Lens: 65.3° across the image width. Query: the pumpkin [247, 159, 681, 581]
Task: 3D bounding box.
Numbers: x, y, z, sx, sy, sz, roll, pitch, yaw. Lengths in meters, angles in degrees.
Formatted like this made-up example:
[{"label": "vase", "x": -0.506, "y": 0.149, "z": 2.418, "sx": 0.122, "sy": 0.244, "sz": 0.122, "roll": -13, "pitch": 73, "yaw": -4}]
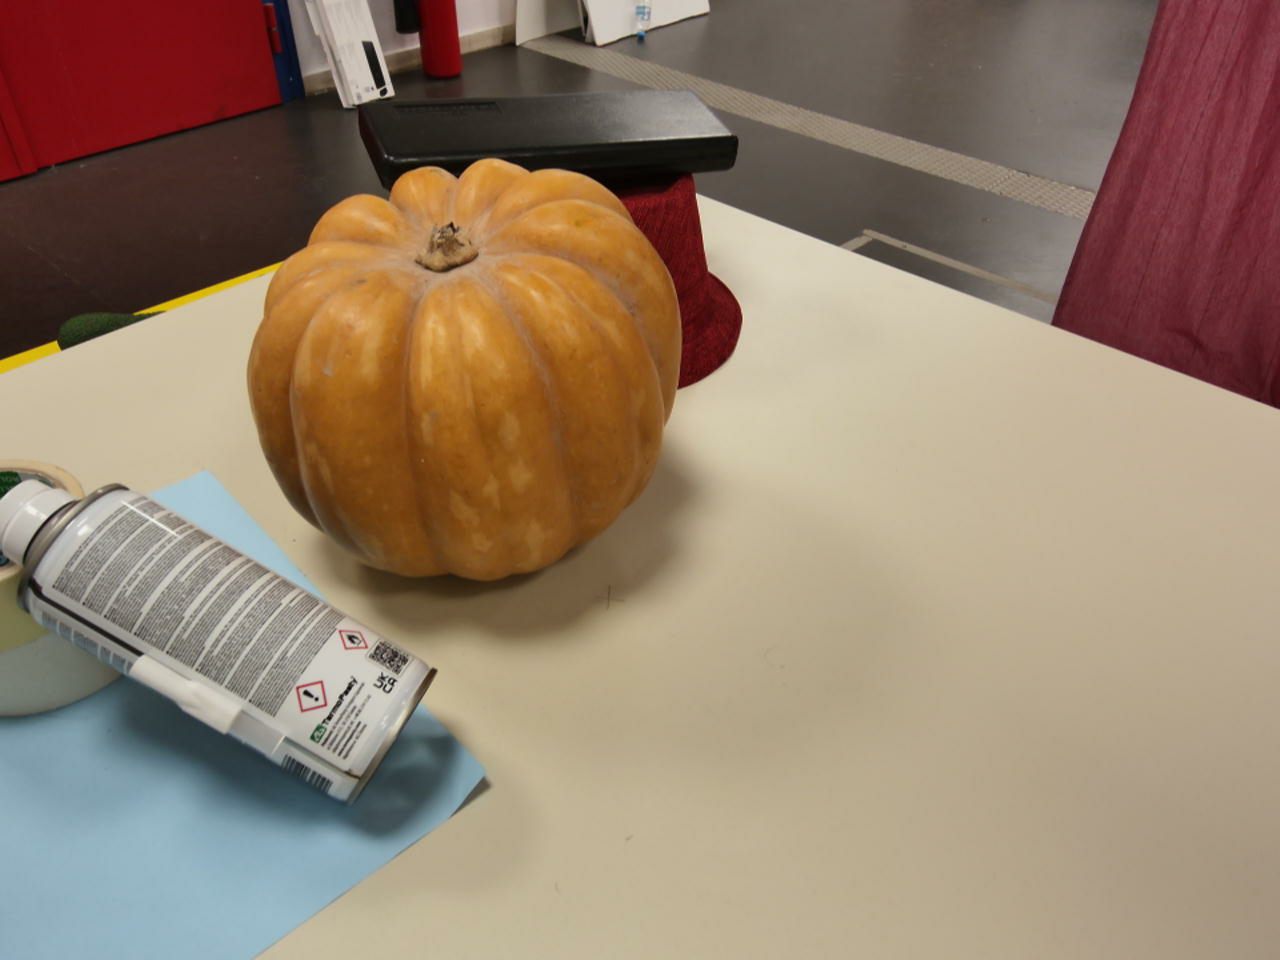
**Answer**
[{"label": "pumpkin", "x": -0.088, "y": -0.057, "z": 0.532, "sx": 0.230, "sy": 0.194, "sz": 0.230, "roll": 1, "pitch": 38, "yaw": -1}]
